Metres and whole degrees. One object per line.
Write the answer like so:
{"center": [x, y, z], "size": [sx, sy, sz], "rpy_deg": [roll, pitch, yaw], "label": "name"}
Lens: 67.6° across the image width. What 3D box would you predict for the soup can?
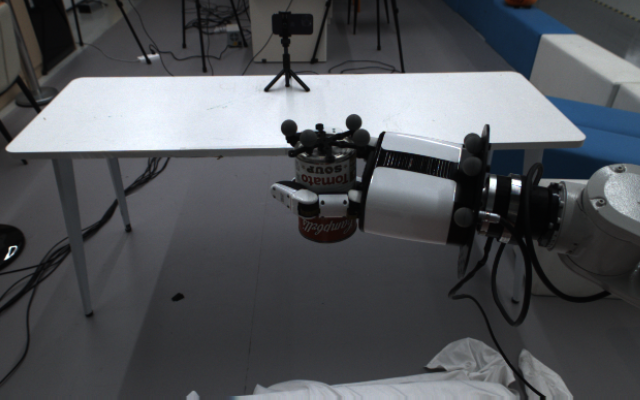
{"center": [0.009, -0.013, 0.529], "size": [0.067, 0.101, 0.067], "rpy_deg": [-2, 32, 1], "label": "soup can"}
